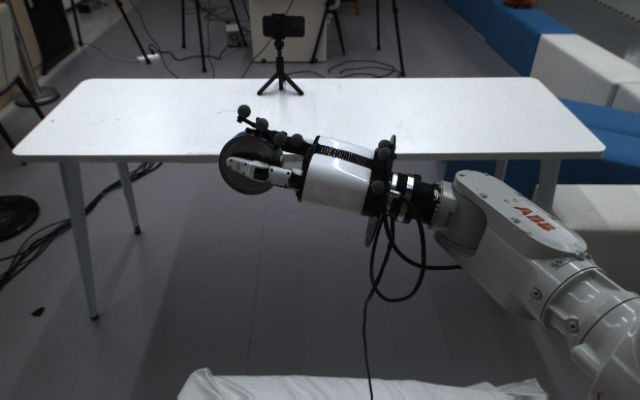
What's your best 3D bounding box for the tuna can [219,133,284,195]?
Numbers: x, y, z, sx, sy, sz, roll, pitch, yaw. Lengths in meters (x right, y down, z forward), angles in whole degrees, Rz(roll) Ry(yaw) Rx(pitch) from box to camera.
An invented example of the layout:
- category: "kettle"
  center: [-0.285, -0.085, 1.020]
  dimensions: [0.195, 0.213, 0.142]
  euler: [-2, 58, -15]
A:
- category: "tuna can"
  center: [-0.093, -0.052, 0.671]
  dimensions: [0.085, 0.085, 0.034]
  euler: [4, 20, 3]
